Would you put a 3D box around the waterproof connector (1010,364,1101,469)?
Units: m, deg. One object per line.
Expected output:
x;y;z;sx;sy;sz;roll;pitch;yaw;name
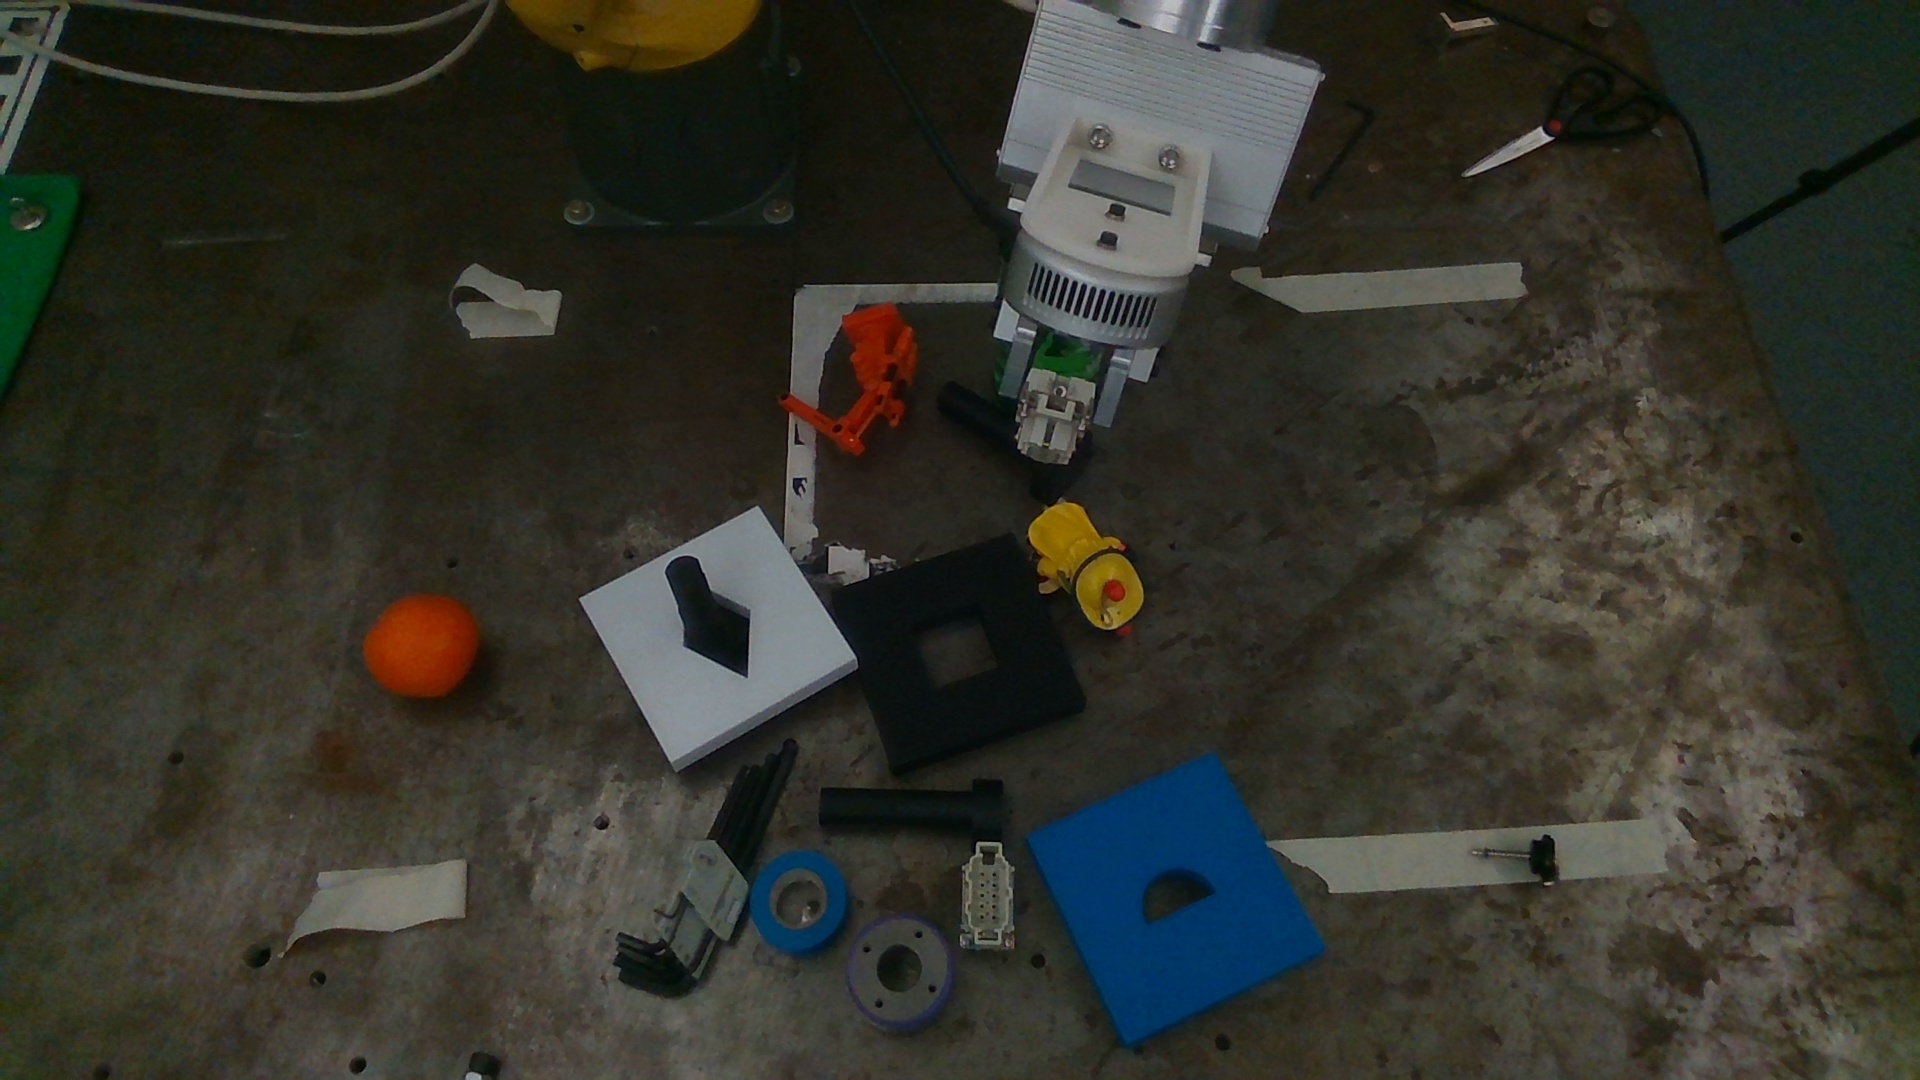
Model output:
0.043;-0.057;0.656;0.037;0.069;0.038;14;84;0;waterproof connector
